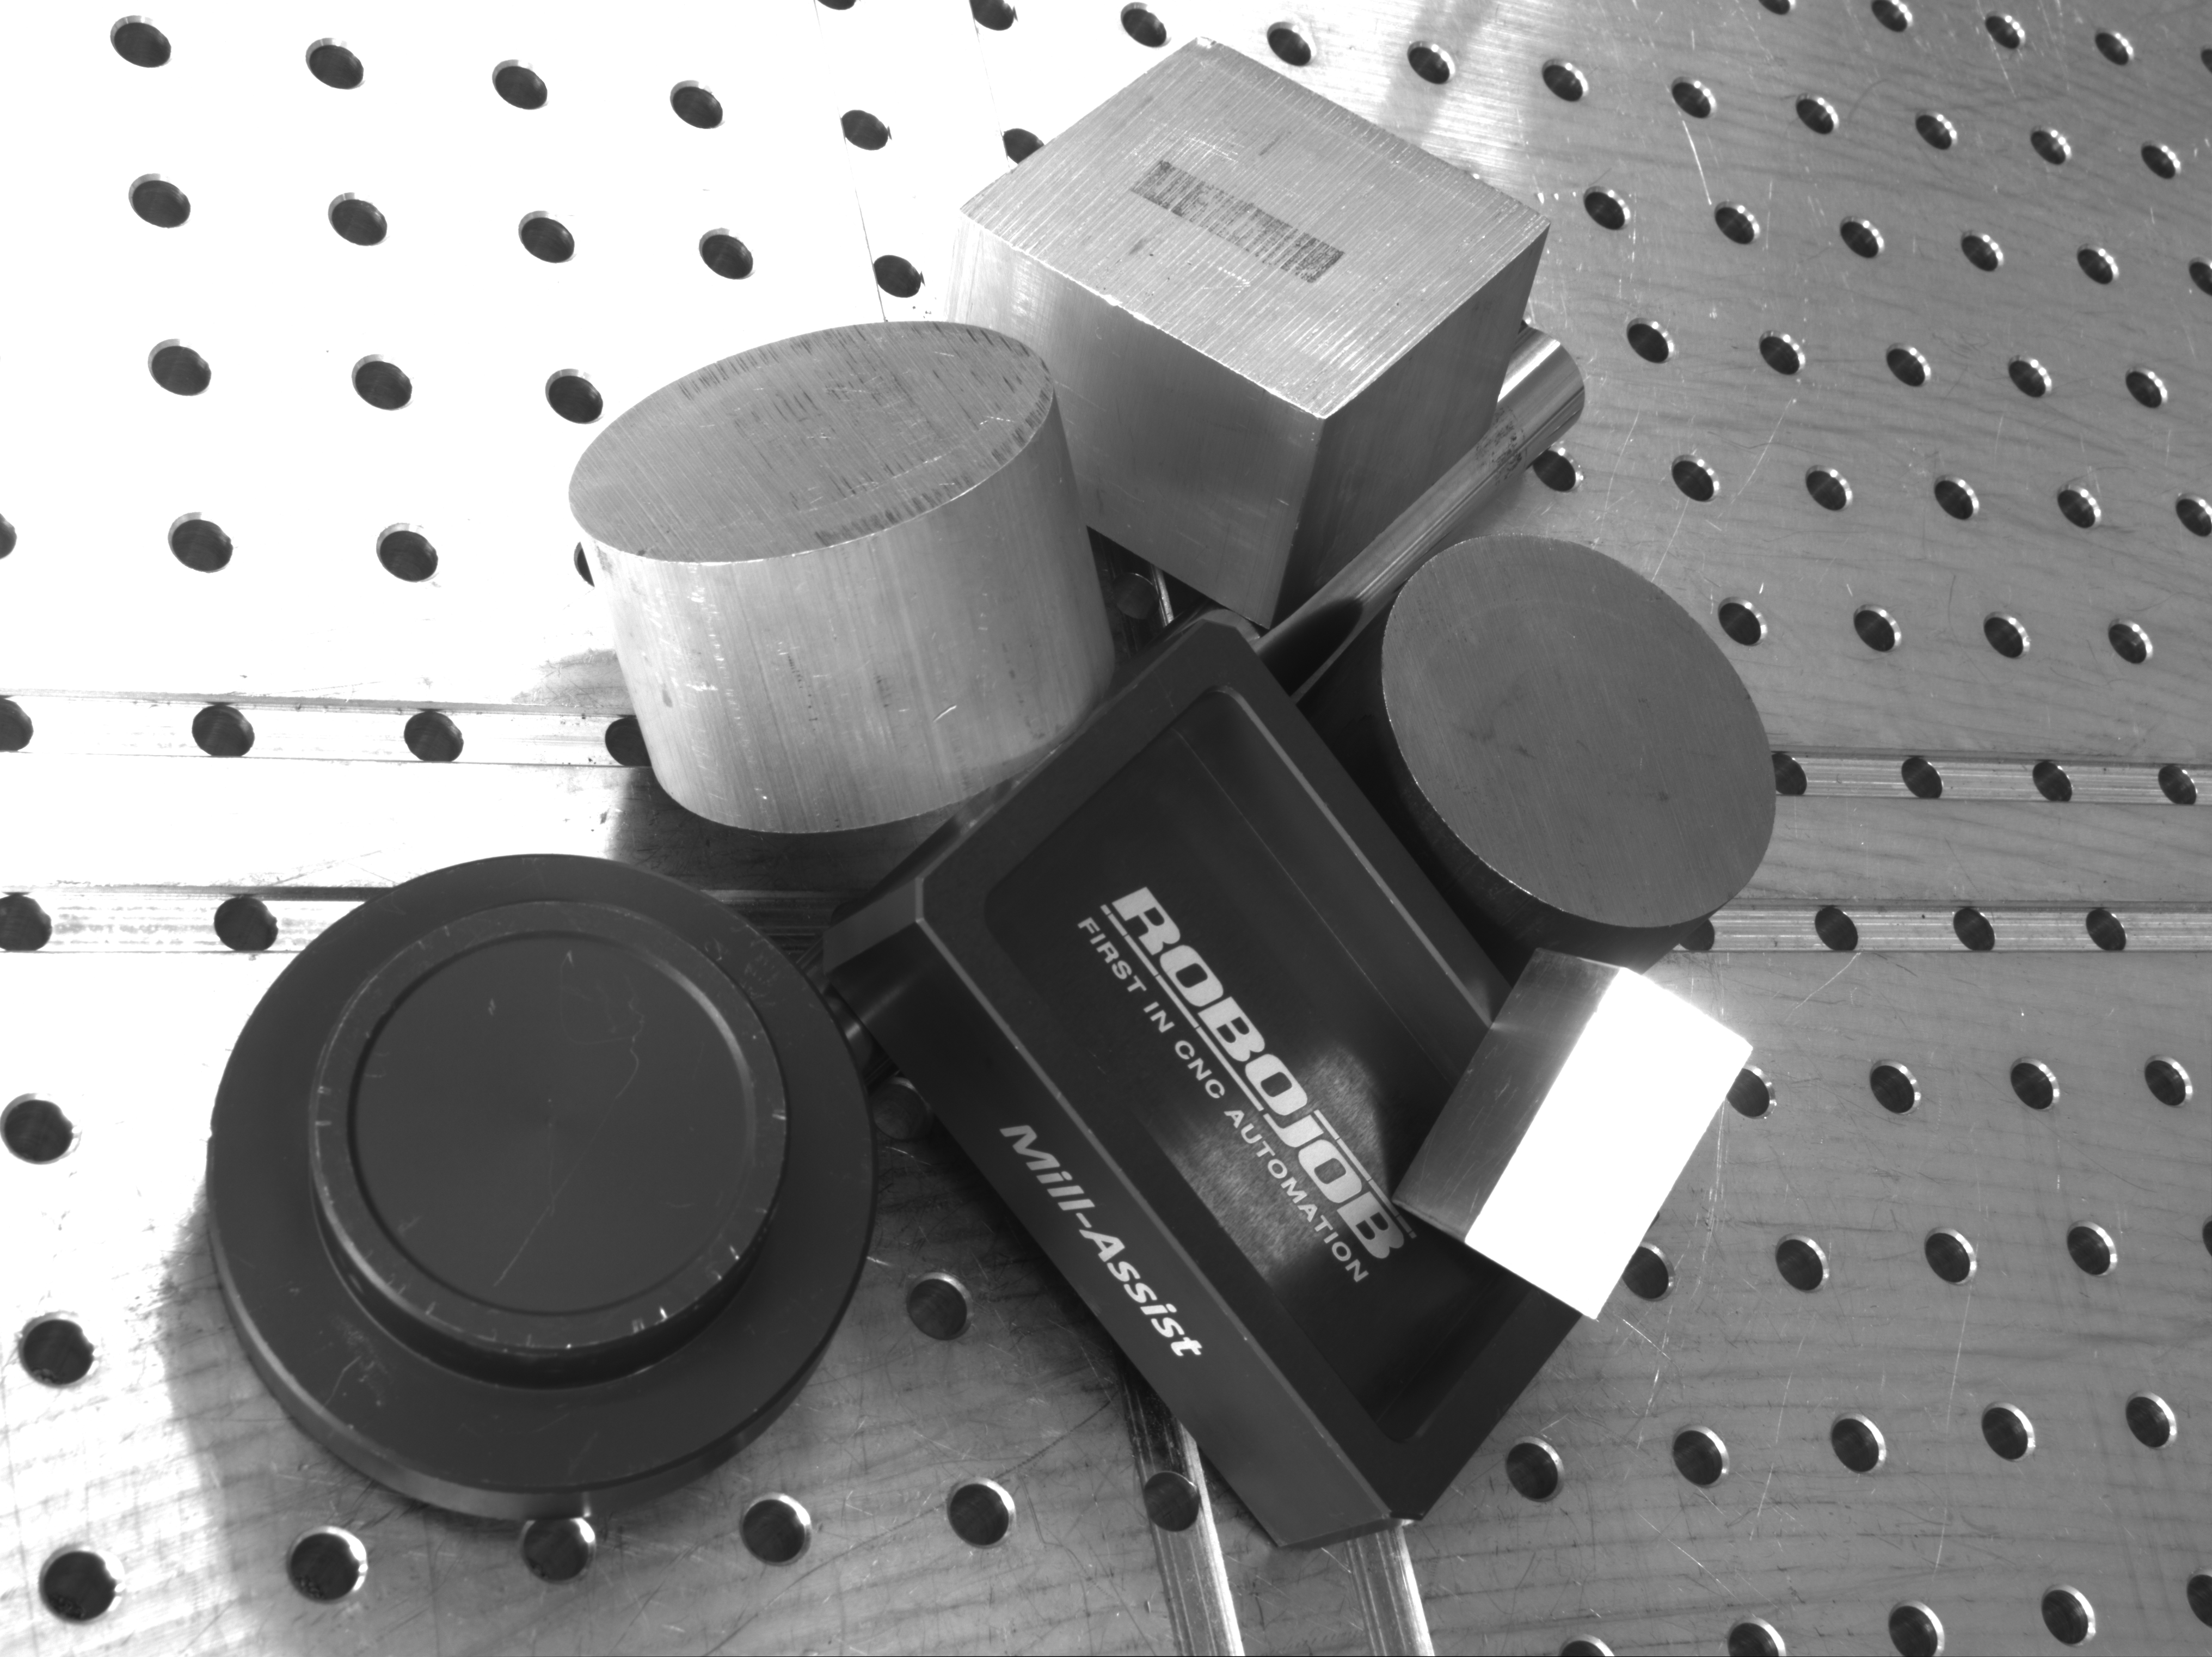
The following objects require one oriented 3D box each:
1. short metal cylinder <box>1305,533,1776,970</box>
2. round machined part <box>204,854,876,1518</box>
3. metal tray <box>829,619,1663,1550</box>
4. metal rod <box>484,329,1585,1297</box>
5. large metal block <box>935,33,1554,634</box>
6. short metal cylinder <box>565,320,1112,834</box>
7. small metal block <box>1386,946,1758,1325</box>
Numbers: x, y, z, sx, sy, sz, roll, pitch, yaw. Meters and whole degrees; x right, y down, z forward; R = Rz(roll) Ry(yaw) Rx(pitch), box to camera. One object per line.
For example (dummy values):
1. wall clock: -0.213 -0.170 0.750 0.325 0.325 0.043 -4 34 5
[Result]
1. short metal cylinder: 0.074 -0.006 0.669 0.080 0.050 0.080 13 56 -21
2. round machined part: -0.082 0.049 0.541 0.098 0.042 0.098 4 68 -10
3. metal tray: 0.026 0.042 0.609 0.130 0.030 0.090 52 51 -7
4. metal rod: 0.001 -0.009 0.651 0.025 0.025 0.301 44 52 3
5. large metal block: 0.024 -0.093 0.681 0.080 0.050 0.080 32 49 18
6. short metal cylinder: -0.043 -0.043 0.603 0.080 0.050 0.080 -10 33 6
7. small metal block: 0.075 0.049 0.599 0.025 0.050 0.050 31 87 -10
